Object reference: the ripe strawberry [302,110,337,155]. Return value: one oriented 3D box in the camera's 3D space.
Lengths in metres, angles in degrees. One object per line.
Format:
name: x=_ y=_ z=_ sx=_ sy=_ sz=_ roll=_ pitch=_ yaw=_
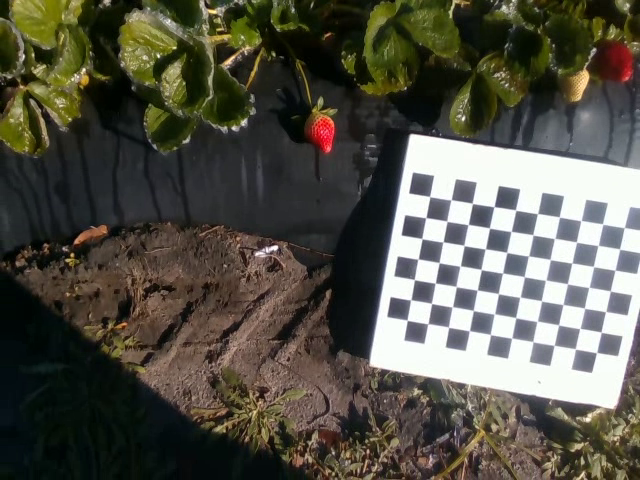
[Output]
ripe strawberry: x=0.003 y=-0.117 z=0.660 sx=0.039 sy=0.053 sz=0.041 roll=-12 pitch=-11 yaw=3
